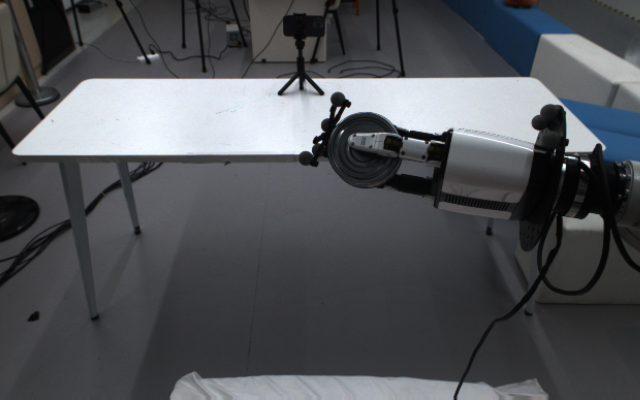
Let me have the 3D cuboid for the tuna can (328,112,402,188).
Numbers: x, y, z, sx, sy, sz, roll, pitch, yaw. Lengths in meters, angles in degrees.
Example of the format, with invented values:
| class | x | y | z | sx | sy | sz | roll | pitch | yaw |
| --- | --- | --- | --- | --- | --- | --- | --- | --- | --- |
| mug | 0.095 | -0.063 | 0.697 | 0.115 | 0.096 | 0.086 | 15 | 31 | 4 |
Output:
| class | x | y | z | sx | sy | sz | roll | pitch | yaw |
| --- | --- | --- | --- | --- | --- | --- | --- | --- | --- |
| tuna can | 0.055 | -0.059 | 0.563 | 0.085 | 0.085 | 0.034 | 9 | -5 | 10 |
